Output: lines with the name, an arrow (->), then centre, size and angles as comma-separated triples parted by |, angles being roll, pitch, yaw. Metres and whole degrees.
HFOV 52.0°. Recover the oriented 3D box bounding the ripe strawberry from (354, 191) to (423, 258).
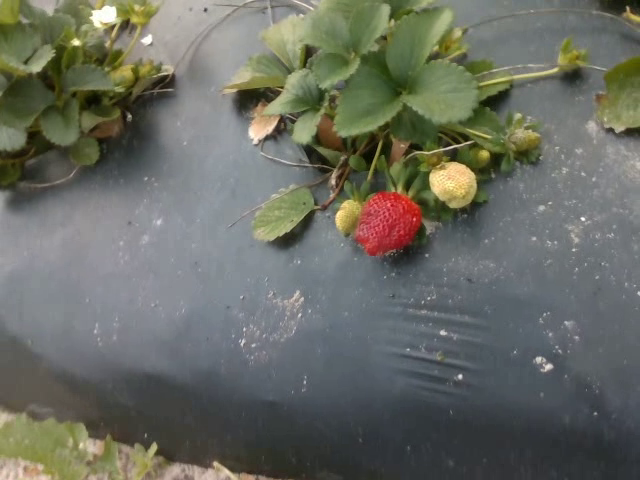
ripe strawberry -> 0.044, -0.006, 0.436 | 0.046, 0.046, 0.059 | 5, 37, 34
